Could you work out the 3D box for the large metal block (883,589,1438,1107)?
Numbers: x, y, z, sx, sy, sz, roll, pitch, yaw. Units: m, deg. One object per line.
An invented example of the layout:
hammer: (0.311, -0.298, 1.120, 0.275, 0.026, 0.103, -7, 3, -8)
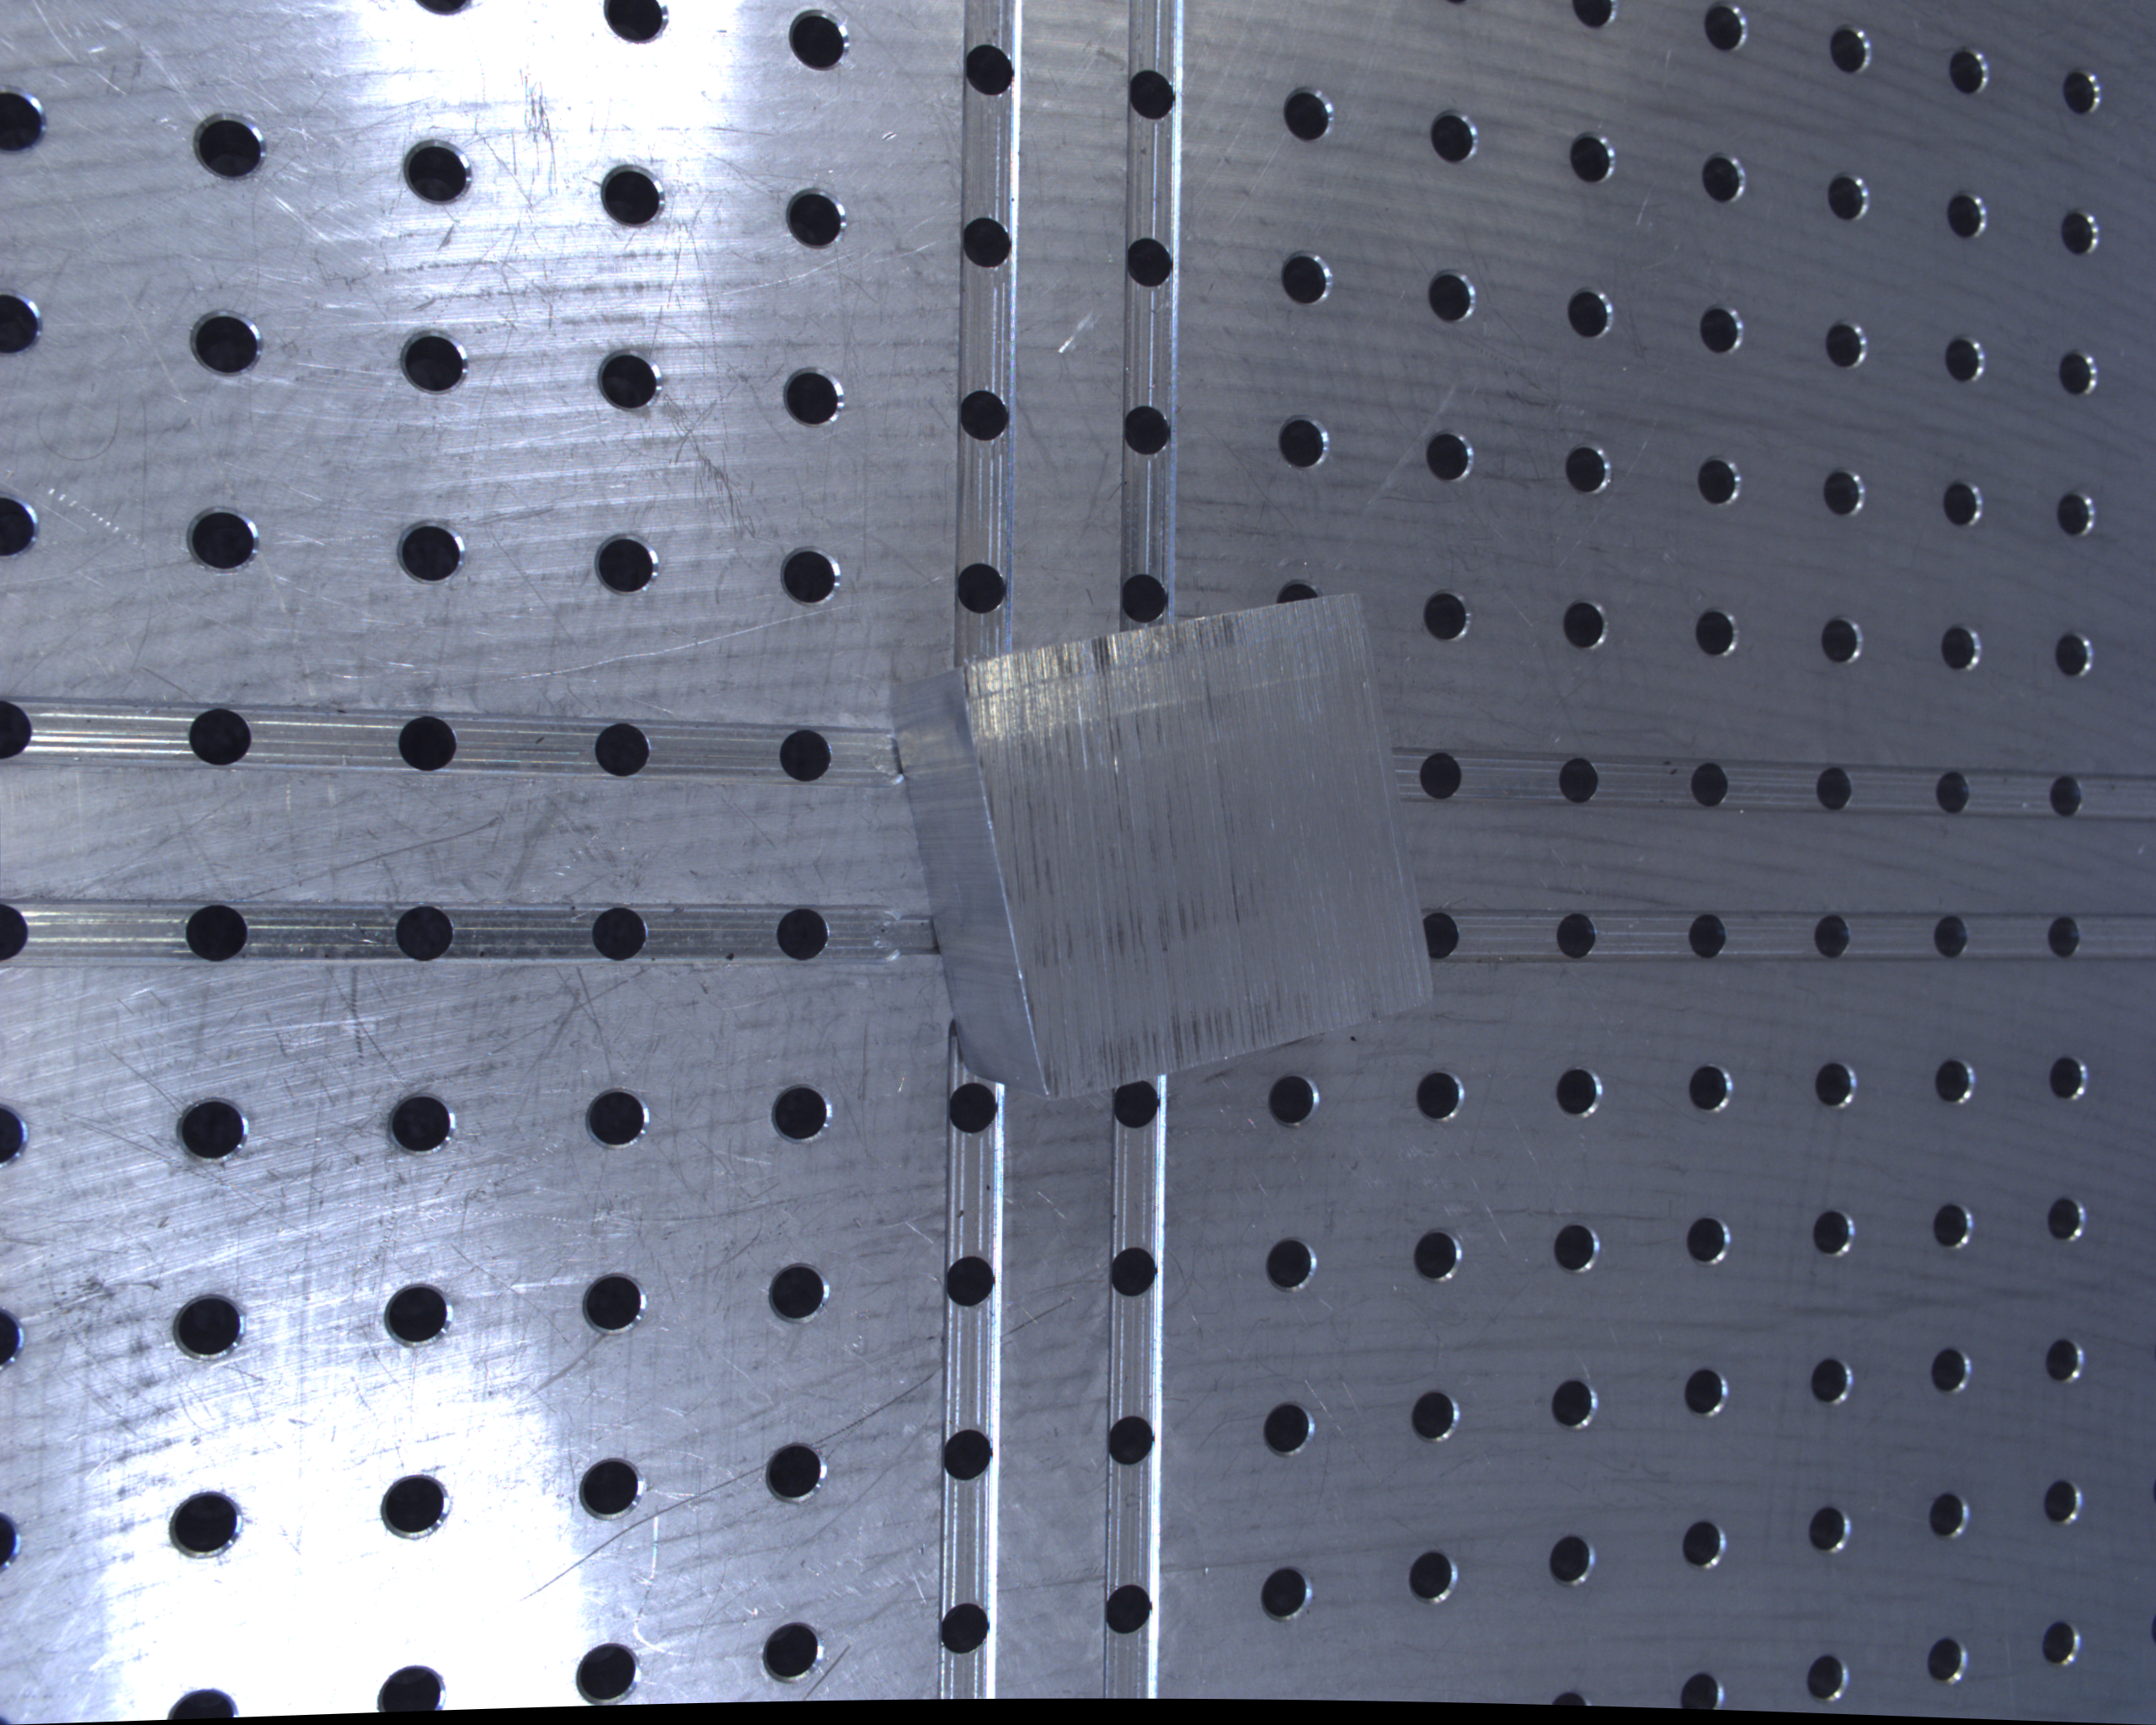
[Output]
large metal block: (0.015, -0.004, 0.404, 0.081, 0.050, 0.080, -13, 95, -20)
